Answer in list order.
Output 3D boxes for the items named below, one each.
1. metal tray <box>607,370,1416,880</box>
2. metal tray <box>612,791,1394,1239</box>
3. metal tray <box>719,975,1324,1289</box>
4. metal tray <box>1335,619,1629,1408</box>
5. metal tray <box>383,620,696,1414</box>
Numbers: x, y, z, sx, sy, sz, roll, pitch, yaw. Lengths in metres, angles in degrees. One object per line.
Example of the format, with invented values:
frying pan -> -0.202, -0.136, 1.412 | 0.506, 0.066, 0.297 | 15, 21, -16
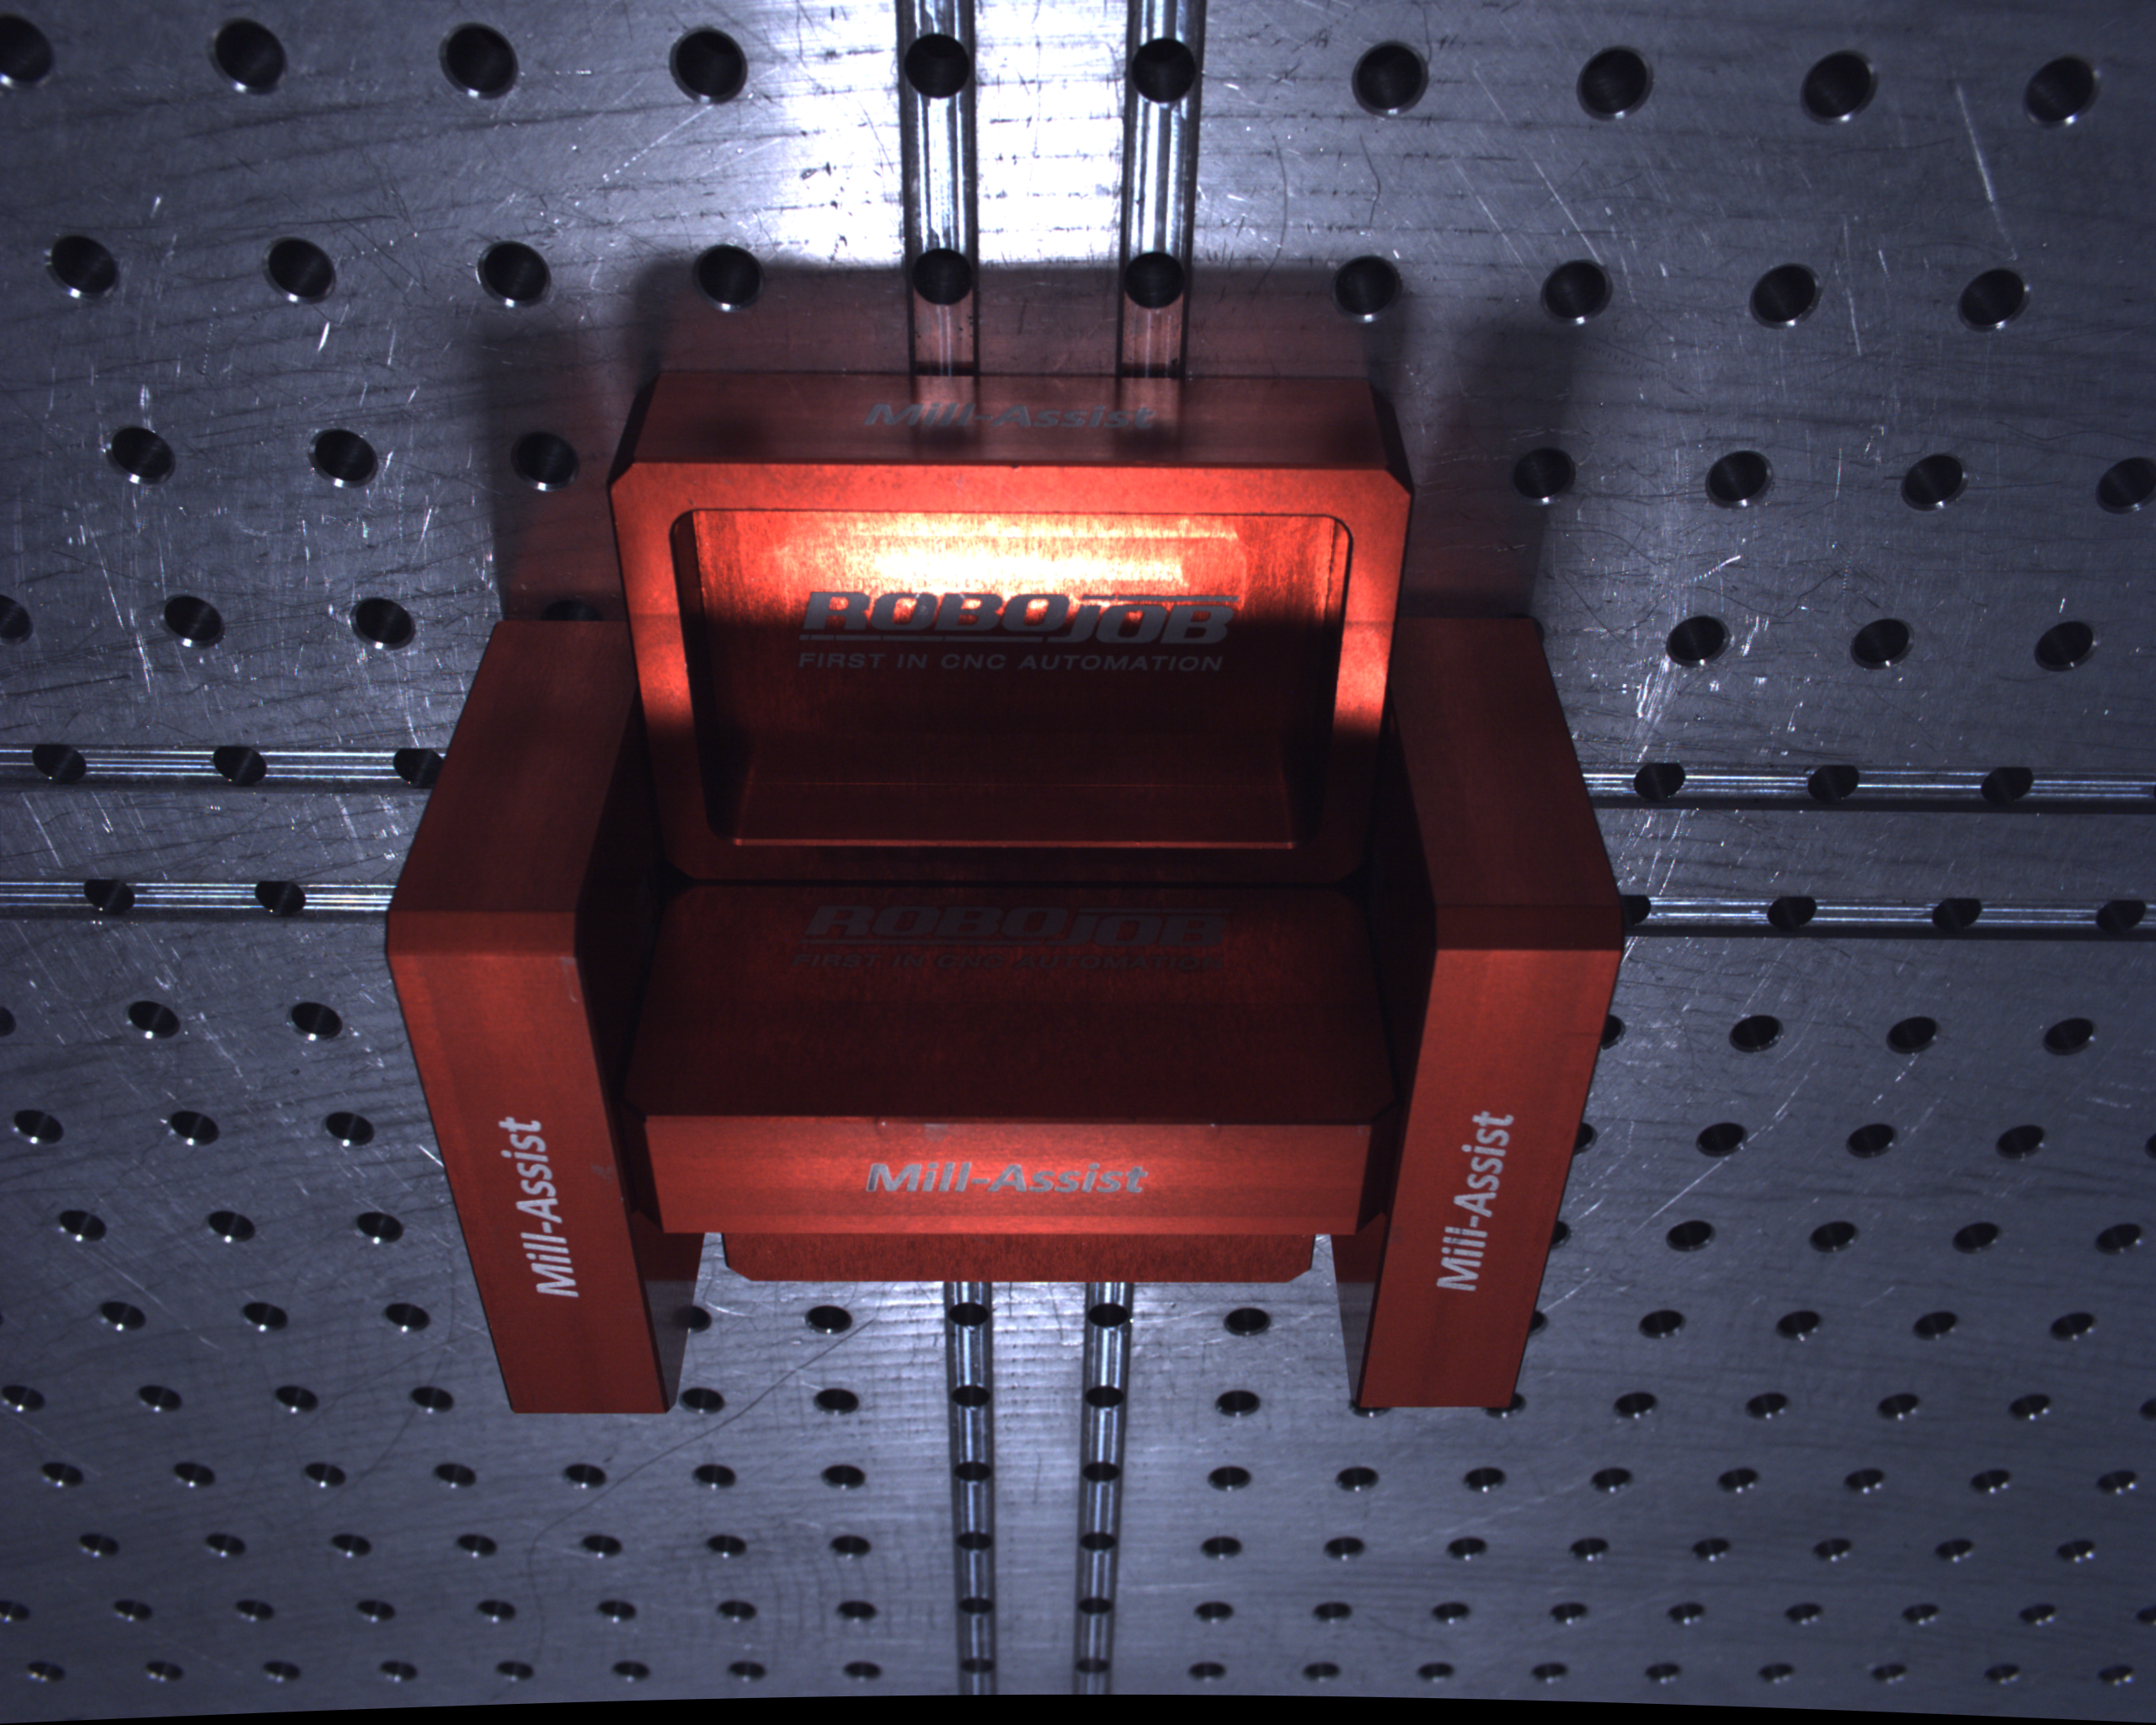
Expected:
metal tray -> -0.011, -0.040, 0.374 | 0.131, 0.030, 0.089 | 0, 130, -1
metal tray -> -0.013, 0.026, 0.388 | 0.131, 0.090, 0.030 | 1, 130, -1
metal tray -> -0.013, 0.053, 0.451 | 0.131, 0.030, 0.089 | 0, 130, -1
metal tray -> 0.069, 0.030, 0.395 | 0.030, 0.090, 0.129 | 1, 130, -1
metal tray -> -0.093, 0.031, 0.393 | 0.030, 0.090, 0.129 | 1, 130, -1
